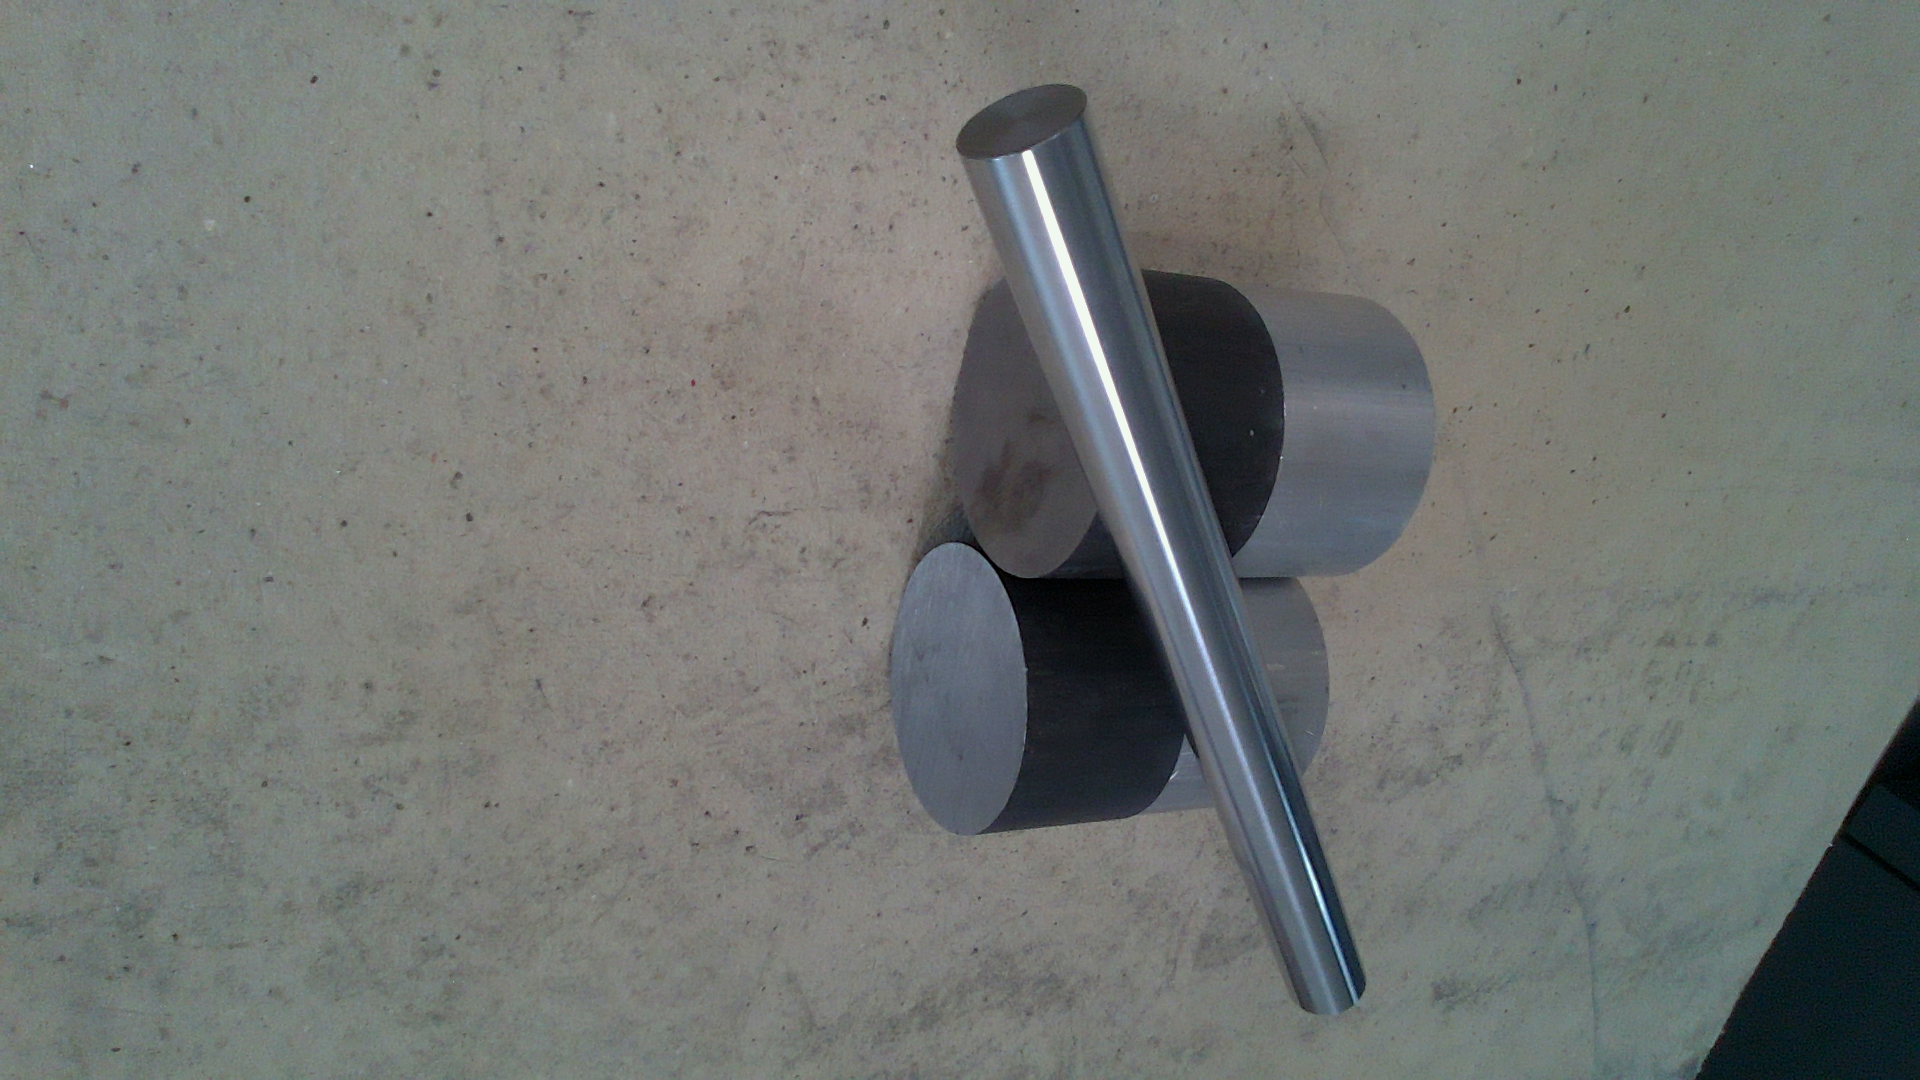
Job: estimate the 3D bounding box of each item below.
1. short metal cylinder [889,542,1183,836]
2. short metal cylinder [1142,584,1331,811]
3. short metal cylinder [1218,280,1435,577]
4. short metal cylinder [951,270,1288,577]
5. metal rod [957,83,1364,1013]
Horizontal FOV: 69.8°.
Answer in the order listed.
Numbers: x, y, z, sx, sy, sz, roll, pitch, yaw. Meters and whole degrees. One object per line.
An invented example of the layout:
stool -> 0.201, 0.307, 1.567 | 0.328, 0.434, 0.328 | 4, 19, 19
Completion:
short metal cylinder -> 0.020, 0.041, 0.390 | 0.050, 0.080, 0.080 | 1, 118, -29
short metal cylinder -> 0.064, 0.041, 0.414 | 0.050, 0.080, 0.080 | 1, 118, -29
short metal cylinder -> 0.082, -0.030, 0.381 | 0.050, 0.080, 0.080 | 1, 118, -29
short metal cylinder -> 0.039, -0.030, 0.356 | 0.050, 0.080, 0.080 | 1, 118, -29
metal rod -> 0.063, 0.031, 0.339 | 0.025, 0.025, 0.301 | -32, 129, -8
